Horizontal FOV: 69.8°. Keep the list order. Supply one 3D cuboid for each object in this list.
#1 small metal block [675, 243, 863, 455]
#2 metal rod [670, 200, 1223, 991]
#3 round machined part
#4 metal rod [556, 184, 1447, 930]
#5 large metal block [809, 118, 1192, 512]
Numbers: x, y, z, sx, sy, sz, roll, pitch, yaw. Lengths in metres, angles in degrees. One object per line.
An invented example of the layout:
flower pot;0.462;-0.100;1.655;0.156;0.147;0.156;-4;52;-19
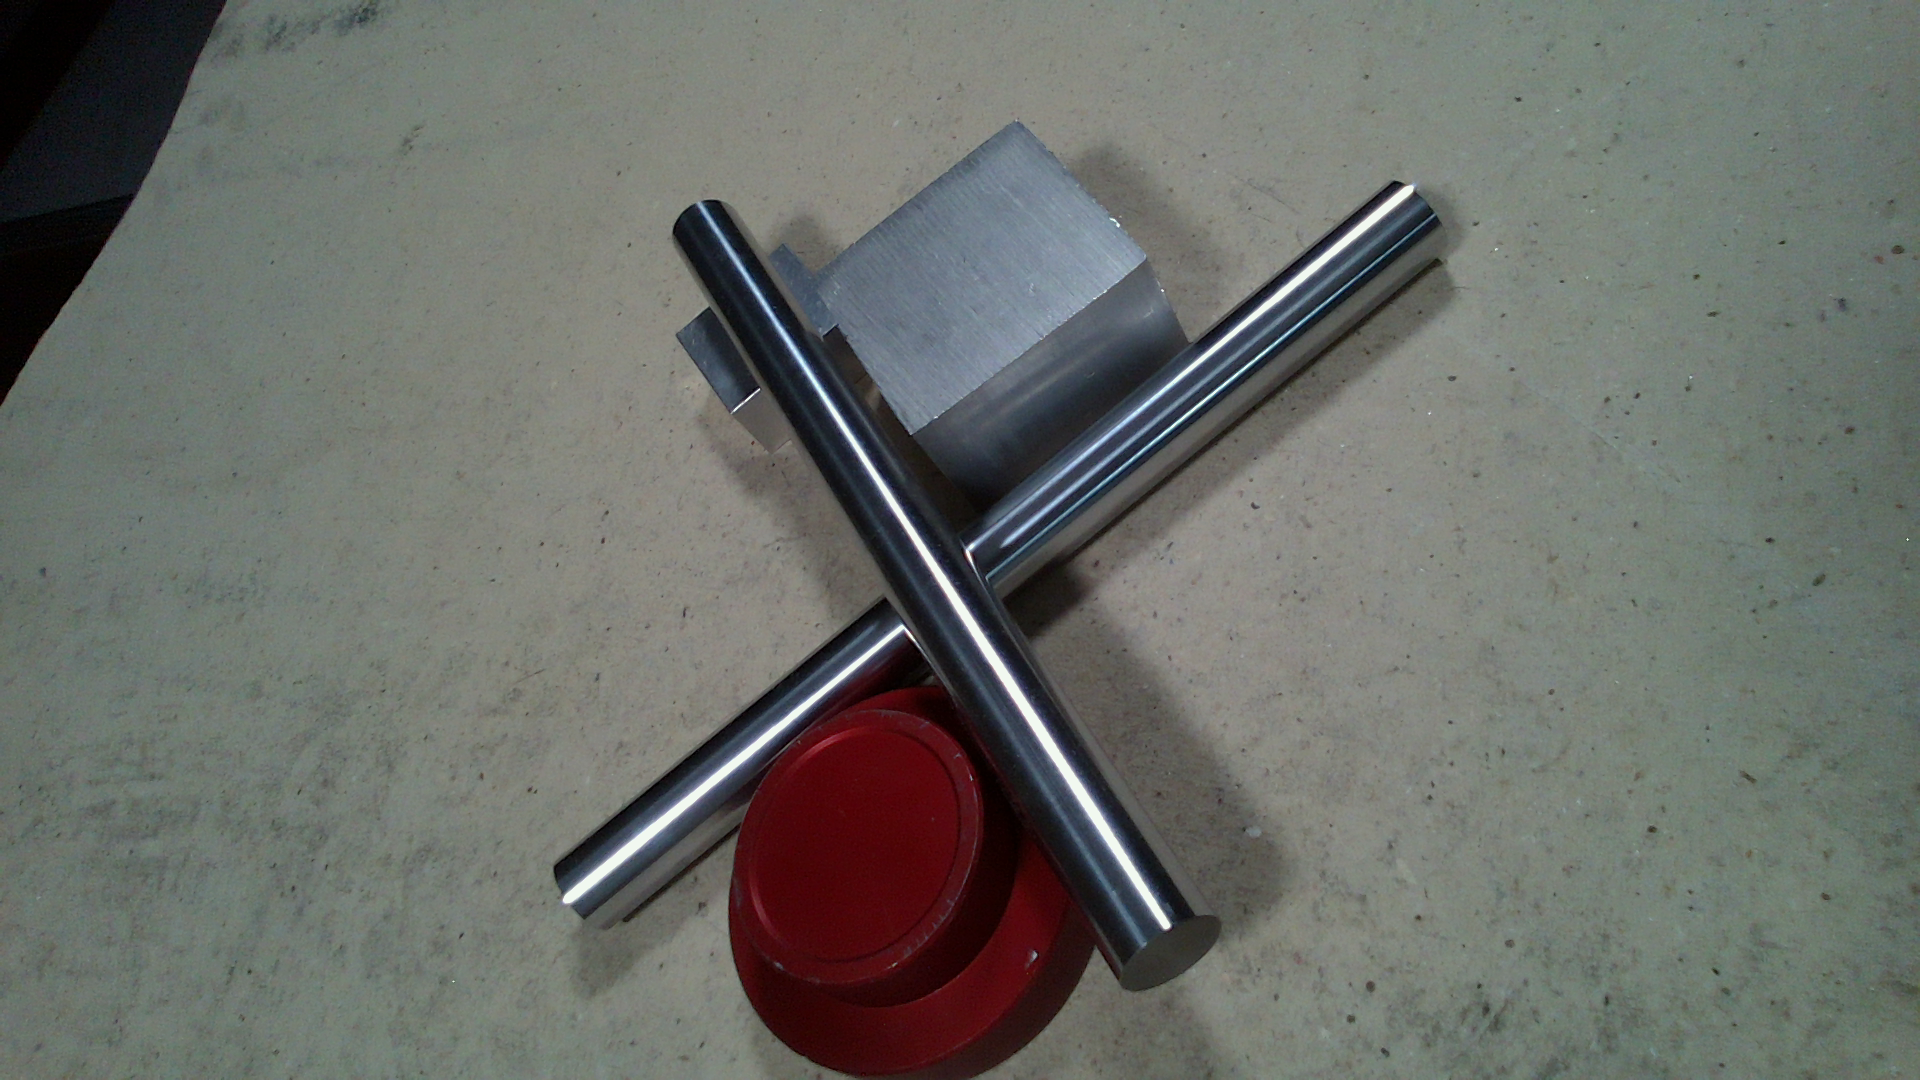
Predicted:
small metal block;-0.062;-0.066;0.470;0.050;0.025;0.050;-40;51;1
metal rod;-0.022;-0.010;0.379;0.025;0.025;0.299;-37;51;3
round machined part;-0.017;0.081;0.342;0.098;0.042;0.098;-13;56;21
metal rod;0.010;0.006;0.387;0.300;0.025;0.025;-39;51;2
large metal block;0.013;-0.066;0.413;0.080;0.050;0.080;-36;51;4
